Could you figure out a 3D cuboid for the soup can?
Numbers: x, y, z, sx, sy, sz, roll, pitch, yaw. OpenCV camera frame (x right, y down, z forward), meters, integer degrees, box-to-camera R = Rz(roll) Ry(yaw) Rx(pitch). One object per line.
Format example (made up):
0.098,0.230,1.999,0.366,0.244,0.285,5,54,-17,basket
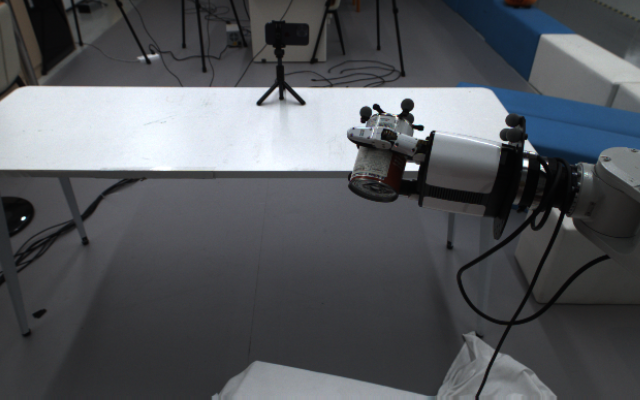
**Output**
0.084,-0.058,0.651,0.067,0.067,0.101,12,70,14,soup can
